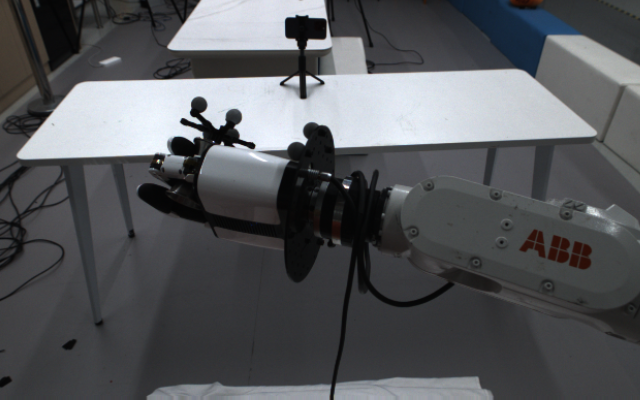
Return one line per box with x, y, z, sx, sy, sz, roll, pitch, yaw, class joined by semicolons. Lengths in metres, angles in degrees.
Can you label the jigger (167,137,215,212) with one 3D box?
-0.129;-0.029;0.520;0.043;0.043;0.071;15;71;18;jigger
